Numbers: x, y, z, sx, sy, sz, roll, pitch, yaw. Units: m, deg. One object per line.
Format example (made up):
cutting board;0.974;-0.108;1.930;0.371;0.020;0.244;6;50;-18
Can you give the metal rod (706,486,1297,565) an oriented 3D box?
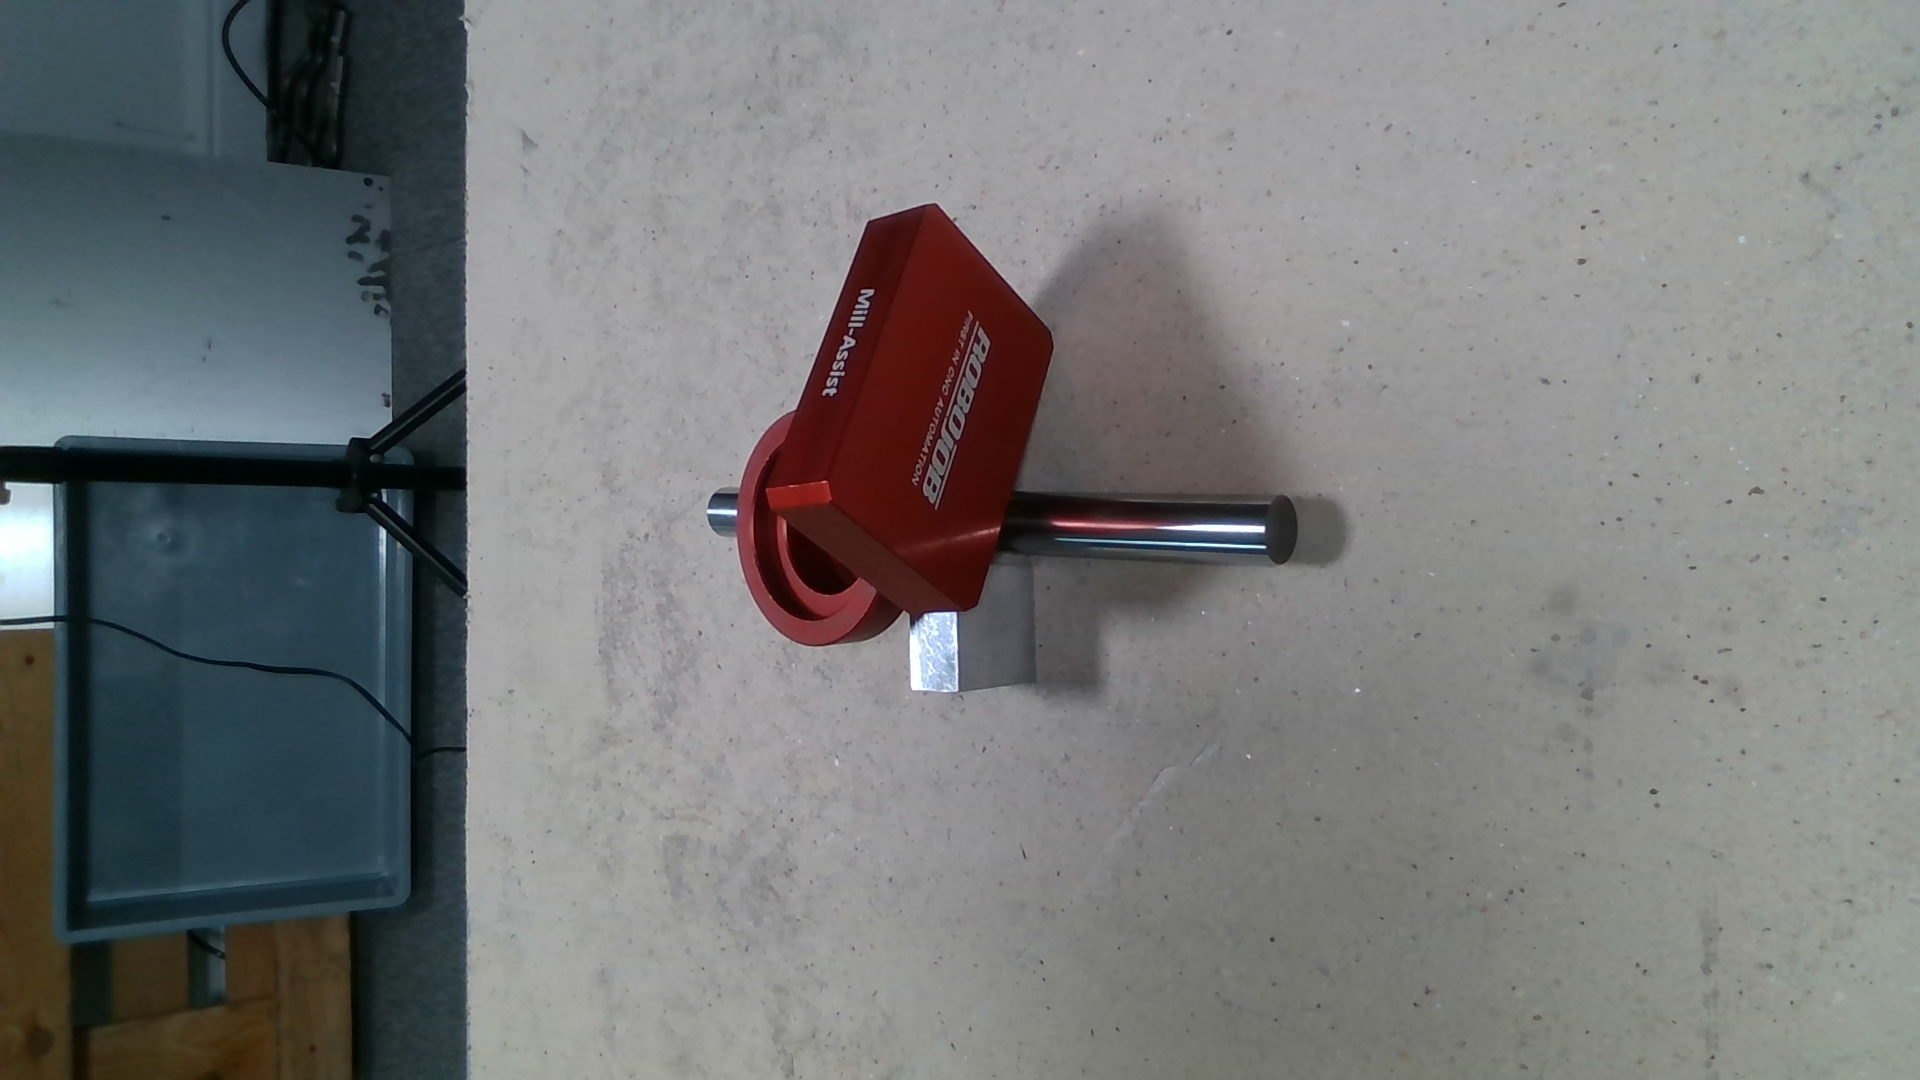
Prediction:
metal rod;-0.001;-0.009;0.583;0.300;0.025;0.025;3;92;40

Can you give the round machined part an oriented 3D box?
round machined part;-0.048;-0.006;0.576;0.098;0.042;0.098;3;94;43

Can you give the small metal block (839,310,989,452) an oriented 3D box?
small metal block;-0.019;-0.066;0.581;0.025;0.050;0.050;-25;75;38

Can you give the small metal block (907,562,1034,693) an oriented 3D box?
small metal block;0.004;0.035;0.562;0.025;0.050;0.050;-2;89;40

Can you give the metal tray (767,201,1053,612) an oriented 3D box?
metal tray;-0.014;-0.049;0.521;0.030;0.090;0.130;-4;58;39
